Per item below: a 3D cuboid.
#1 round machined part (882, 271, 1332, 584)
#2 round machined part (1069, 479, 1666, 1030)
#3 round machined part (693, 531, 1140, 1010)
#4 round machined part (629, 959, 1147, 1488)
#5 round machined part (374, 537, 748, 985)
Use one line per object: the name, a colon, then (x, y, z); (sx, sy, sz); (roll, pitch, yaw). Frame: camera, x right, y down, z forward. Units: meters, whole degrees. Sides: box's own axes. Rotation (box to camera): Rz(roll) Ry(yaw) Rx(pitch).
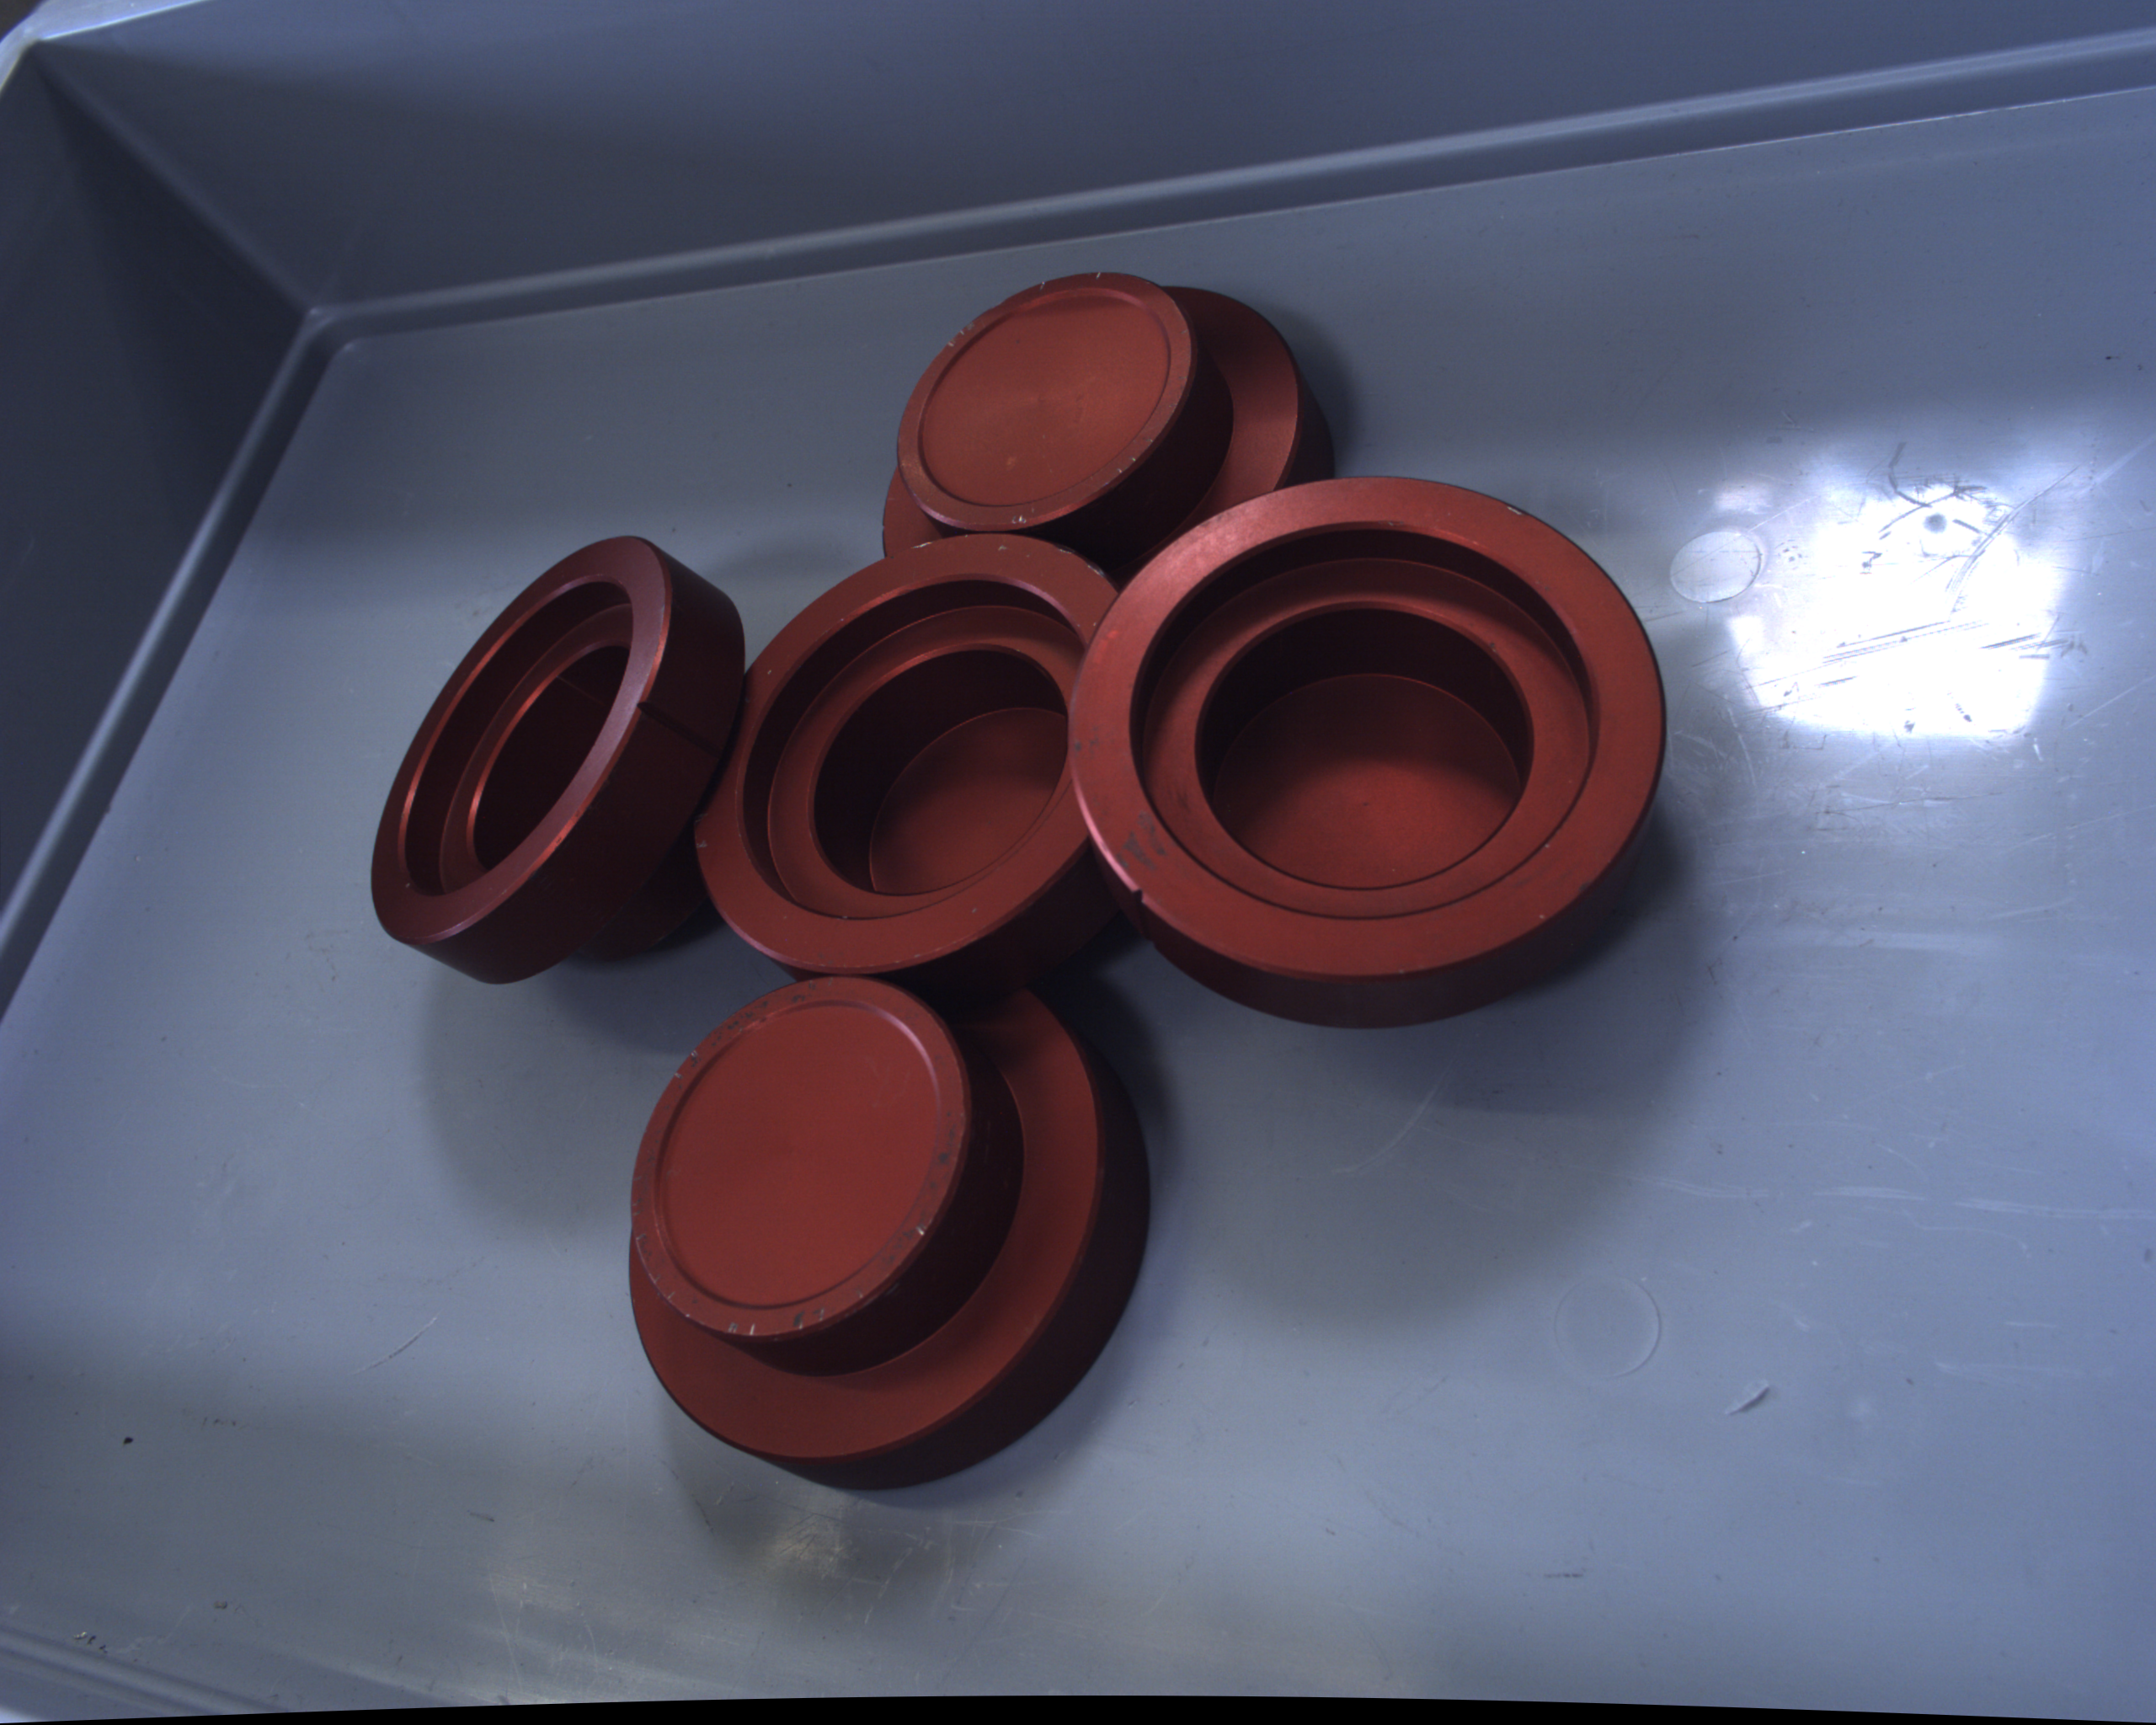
round machined part: (0.001, -0.087, 0.445); (0.098, 0.042, 0.098); (-13, 56, 21)
round machined part: (0.050, -0.016, 0.365); (0.098, 0.042, 0.098); (-4, 63, 8)
round machined part: (-0.023, -0.014, 0.413); (0.098, 0.042, 0.098); (-13, 56, 21)
round machined part: (-0.041, 0.059, 0.378); (0.098, 0.042, 0.098); (-13, 56, 21)
round machined part: (-0.103, -0.018, 0.448); (0.098, 0.042, 0.098); (-28, 45, 32)
